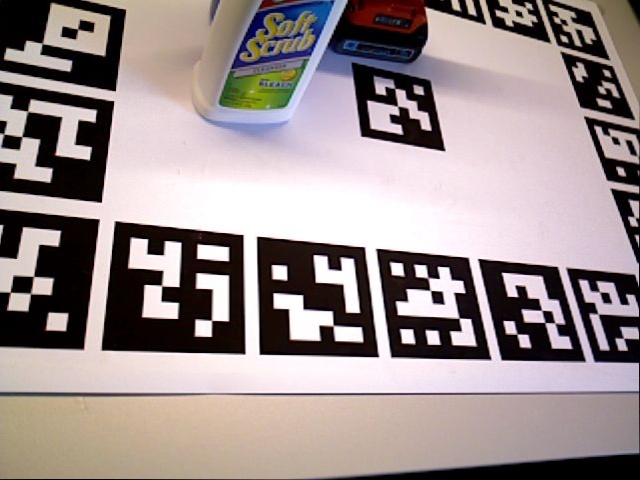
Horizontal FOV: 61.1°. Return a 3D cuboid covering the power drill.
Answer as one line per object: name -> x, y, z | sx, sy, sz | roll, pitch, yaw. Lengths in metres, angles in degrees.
power drill -> 0.127, -0.274, 0.522 | 0.182, 0.191, 0.057 | 2, 67, -28

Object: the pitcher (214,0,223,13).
pitcher -> -0.023, -0.276, 0.449 | 0.185, 0.248, 0.133 | -23, 77, -30

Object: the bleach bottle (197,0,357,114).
bleach bottle -> -0.017, -0.194, 0.388 | 0.101, 0.256, 0.067 | -3, 66, -24
